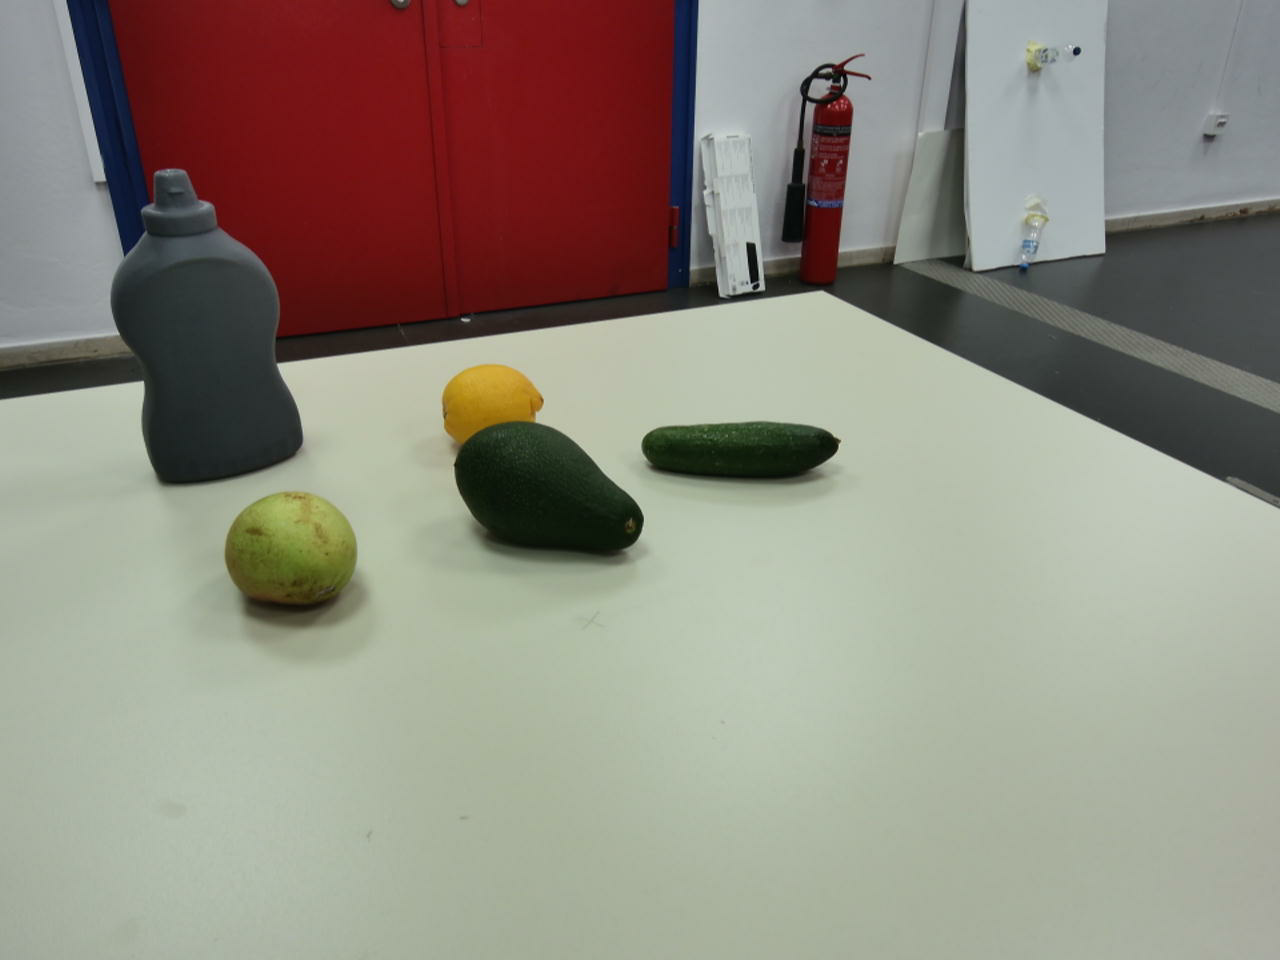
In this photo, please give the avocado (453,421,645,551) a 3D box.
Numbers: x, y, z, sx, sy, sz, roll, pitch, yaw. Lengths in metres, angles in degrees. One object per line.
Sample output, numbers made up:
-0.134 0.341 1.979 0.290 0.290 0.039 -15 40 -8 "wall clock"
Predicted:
-0.056 0.005 0.579 0.110 0.071 0.072 21 34 37 "avocado"
